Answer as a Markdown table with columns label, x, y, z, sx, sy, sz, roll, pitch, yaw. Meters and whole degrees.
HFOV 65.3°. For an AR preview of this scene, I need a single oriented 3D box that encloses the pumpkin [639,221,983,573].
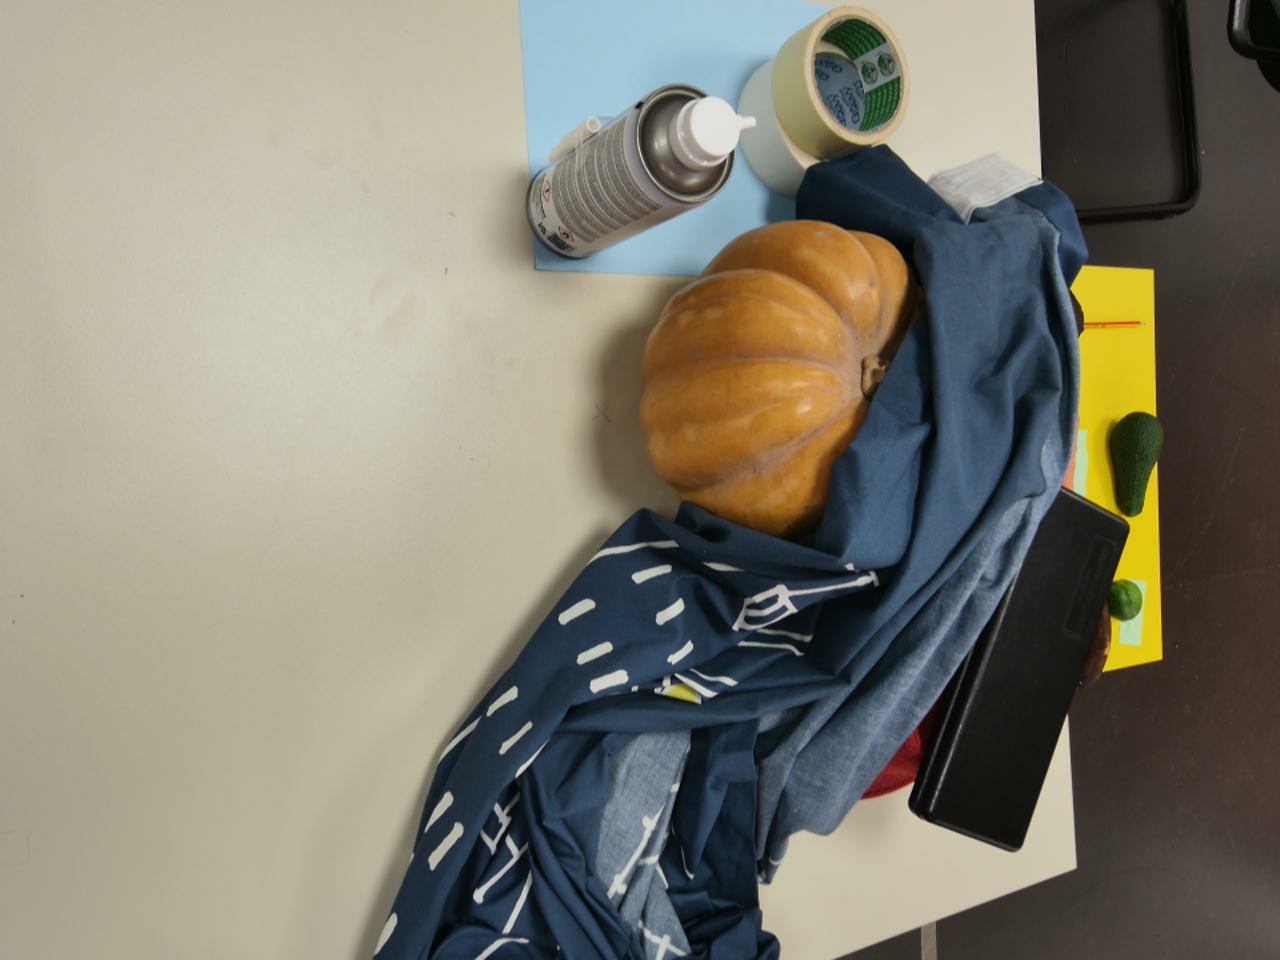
| label | x | y | z | sx | sy | sz | roll | pitch | yaw |
| --- | --- | --- | --- | --- | --- | --- | --- | --- | --- |
| pumpkin | 0.108 | -0.051 | 0.657 | 0.230 | 0.194 | 0.230 | 0 | 91 | -28 |
